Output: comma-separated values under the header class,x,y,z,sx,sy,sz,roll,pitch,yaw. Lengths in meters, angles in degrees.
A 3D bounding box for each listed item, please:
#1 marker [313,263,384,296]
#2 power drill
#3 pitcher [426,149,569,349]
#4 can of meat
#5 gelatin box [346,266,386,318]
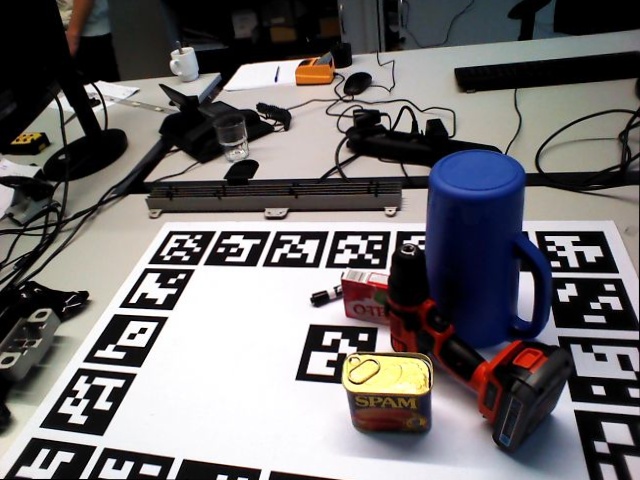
class,x,y,z,sx,sy,sz,roll,pitch,yaw
marker,0.047,0.061,0.804,0.121,0.020,0.019,-17,39,-5
power drill,0.150,0.099,0.602,0.057,0.185,0.187,-38,51,-26
pitcher,0.214,0.016,0.651,0.132,0.243,0.190,-40,40,-27
can of meat,0.078,0.175,0.601,0.102,0.084,0.057,0,38,14
gelatin box,0.085,0.078,0.735,0.090,0.073,0.030,9,46,22
